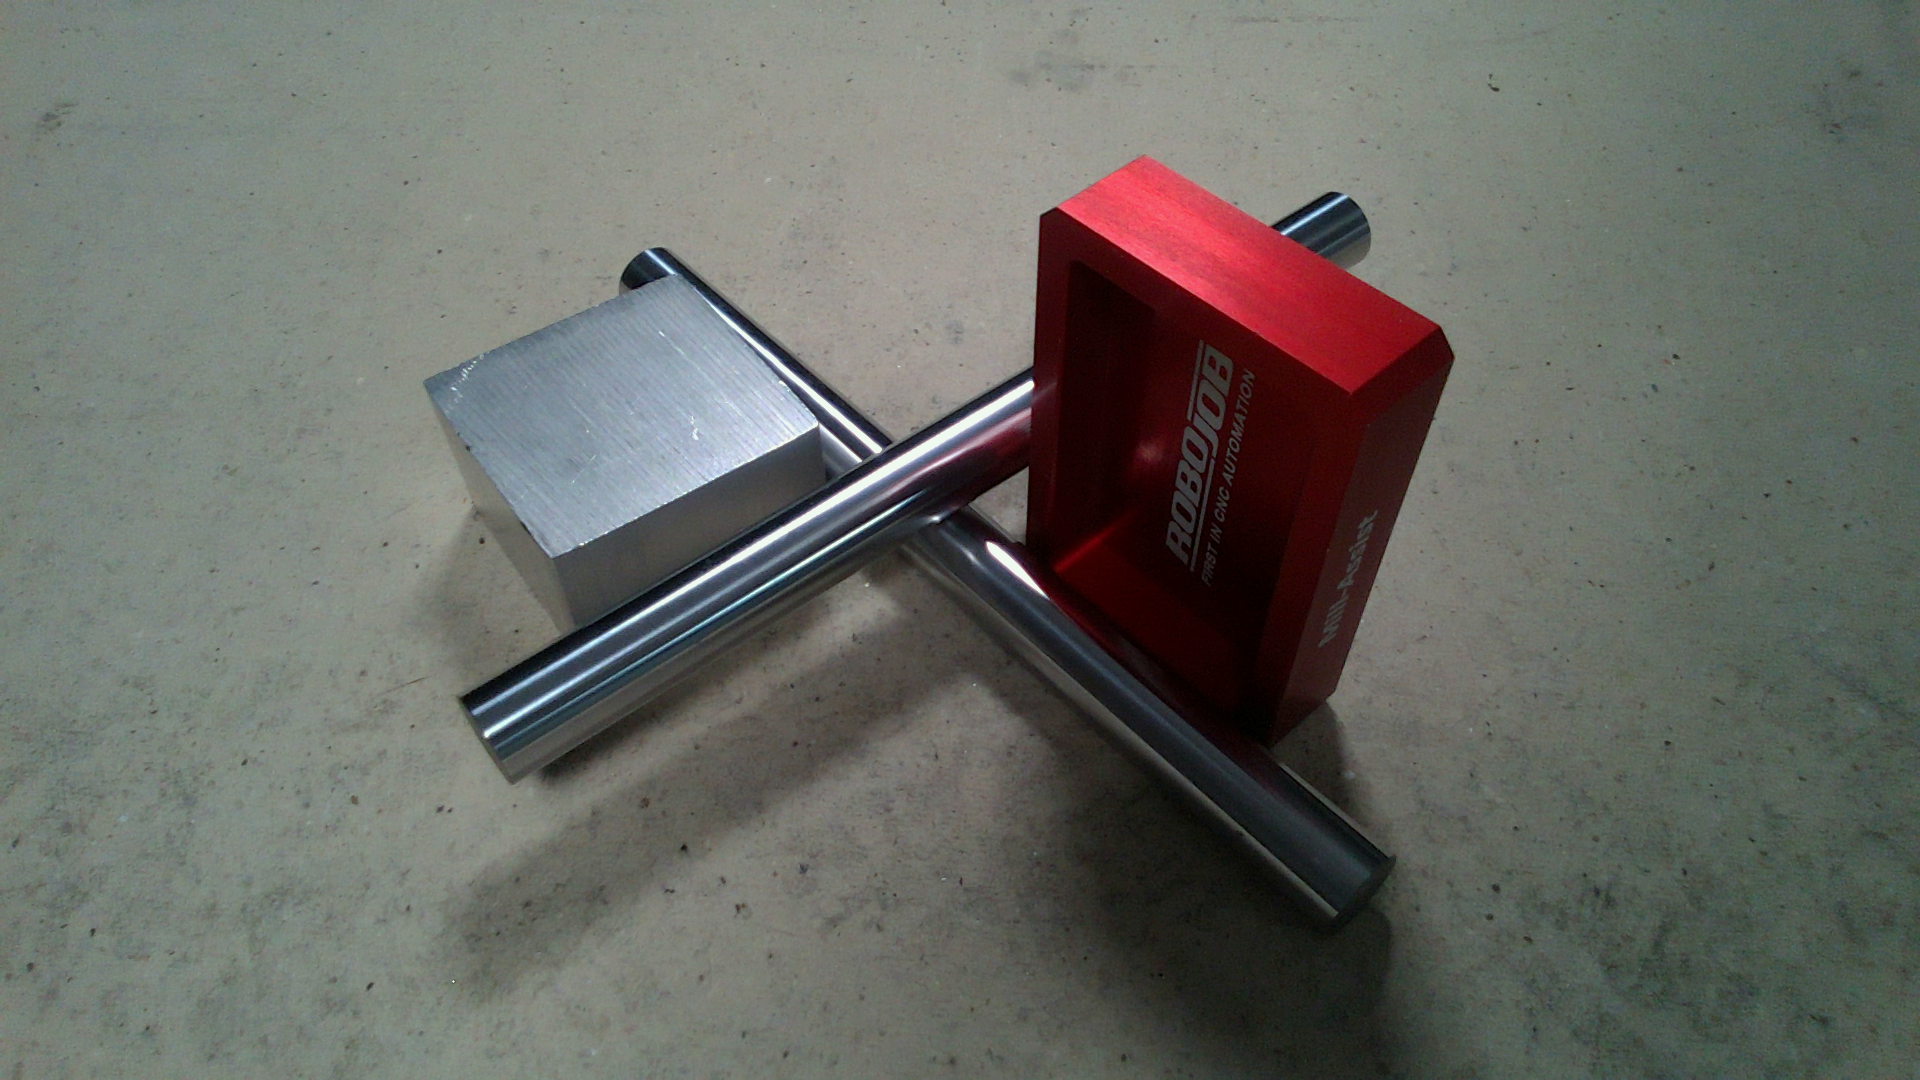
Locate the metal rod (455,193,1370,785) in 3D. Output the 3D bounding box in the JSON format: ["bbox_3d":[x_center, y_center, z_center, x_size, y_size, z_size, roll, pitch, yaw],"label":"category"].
[{"bbox_3d":[0.005,-0.027,0.381,0.301,0.025,0.025,-32,57,-24],"label":"metal rod"}]

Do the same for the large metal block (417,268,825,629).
[{"bbox_3d":[-0.093,-0.022,0.393,0.080,0.050,0.080,-30,56,-23],"label":"large metal block"}]

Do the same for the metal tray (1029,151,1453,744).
[{"bbox_3d":[0.059,-0.017,0.336,0.030,0.130,0.090,-35,58,-25],"label":"metal tray"}]

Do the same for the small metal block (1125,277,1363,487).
[{"bbox_3d":[0.089,-0.051,0.435,0.050,0.025,0.050,-29,55,-22],"label":"small metal block"}]

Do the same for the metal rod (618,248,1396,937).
[{"bbox_3d":[-0.005,-0.002,0.394,0.025,0.025,0.299,-34,58,-25],"label":"metal rod"}]
